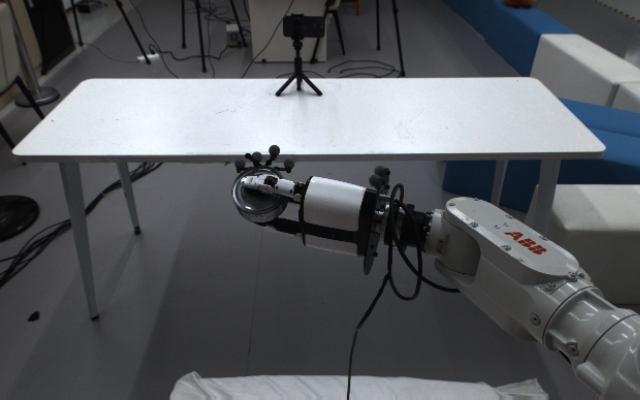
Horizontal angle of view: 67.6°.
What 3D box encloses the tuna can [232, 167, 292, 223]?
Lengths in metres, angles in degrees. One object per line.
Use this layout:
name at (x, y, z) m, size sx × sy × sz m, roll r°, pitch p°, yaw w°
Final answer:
tuna can at (-0.088, -0.008, 0.748) m, size 0.085 × 0.034 × 0.085 m, roll -2°, pitch 58°, yaw 3°
